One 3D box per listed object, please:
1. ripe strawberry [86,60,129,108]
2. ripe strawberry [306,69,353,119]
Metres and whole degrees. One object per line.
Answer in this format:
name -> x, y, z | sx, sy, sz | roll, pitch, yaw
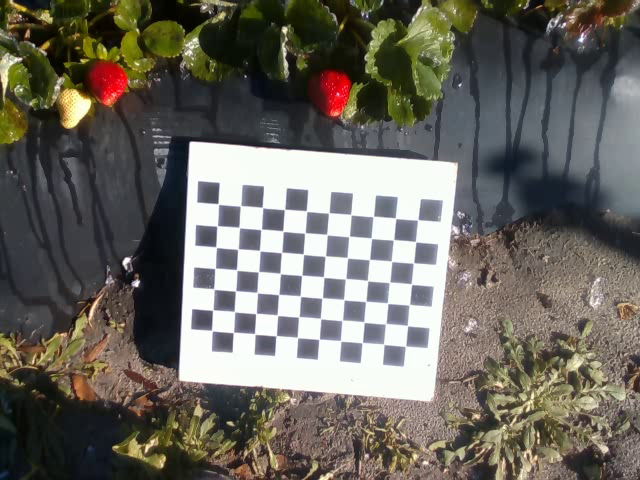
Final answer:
ripe strawberry -> -0.218, -0.156, 0.643 | 0.042, 0.061, 0.046 | -10, -34, 2
ripe strawberry -> 0.011, -0.152, 0.636 | 0.049, 0.061, 0.044 | -3, -25, 1
